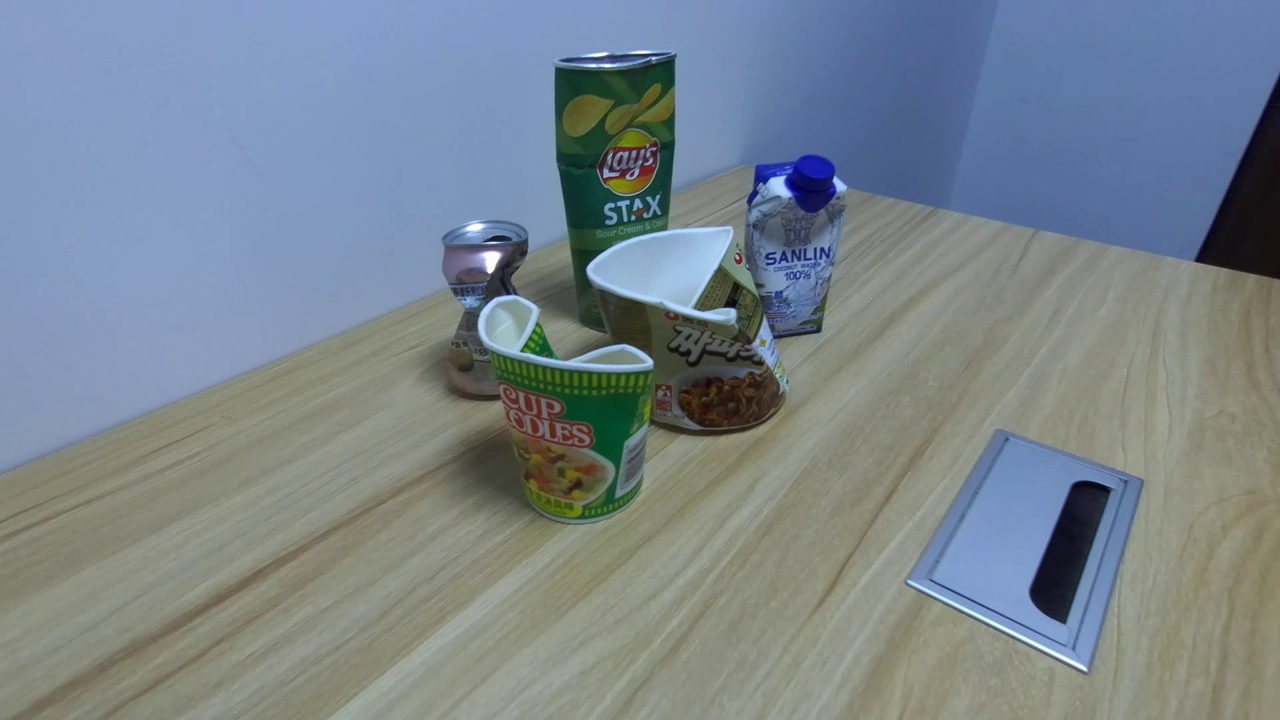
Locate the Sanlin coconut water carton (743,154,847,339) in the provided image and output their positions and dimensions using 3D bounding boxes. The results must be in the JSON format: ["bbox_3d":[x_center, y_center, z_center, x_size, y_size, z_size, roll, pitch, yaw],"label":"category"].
[{"bbox_3d":[0.114,-0.087,0.535,0.078,0.142,0.057,-10,38,-15],"label":"Sanlin coconut water carton"}]

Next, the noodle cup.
[{"bbox_3d":[-0.035,0.024,0.378,0.075,0.122,0.082,-15,44,-9],"label":"noodle cup"}]

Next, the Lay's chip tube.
[{"bbox_3d":[-0.016,-0.122,0.534,0.068,0.200,0.075,11,33,18],"label":"Lay's chip tube"}]

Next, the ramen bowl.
[{"bbox_3d":[0.037,-0.023,0.469,0.137,0.098,0.137,0,31,0],"label":"ramen bowl"}]

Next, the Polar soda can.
[{"bbox_3d":[-0.102,-0.039,0.484,0.070,0.114,0.074,-20,43,-37],"label":"Polar soda can"}]
